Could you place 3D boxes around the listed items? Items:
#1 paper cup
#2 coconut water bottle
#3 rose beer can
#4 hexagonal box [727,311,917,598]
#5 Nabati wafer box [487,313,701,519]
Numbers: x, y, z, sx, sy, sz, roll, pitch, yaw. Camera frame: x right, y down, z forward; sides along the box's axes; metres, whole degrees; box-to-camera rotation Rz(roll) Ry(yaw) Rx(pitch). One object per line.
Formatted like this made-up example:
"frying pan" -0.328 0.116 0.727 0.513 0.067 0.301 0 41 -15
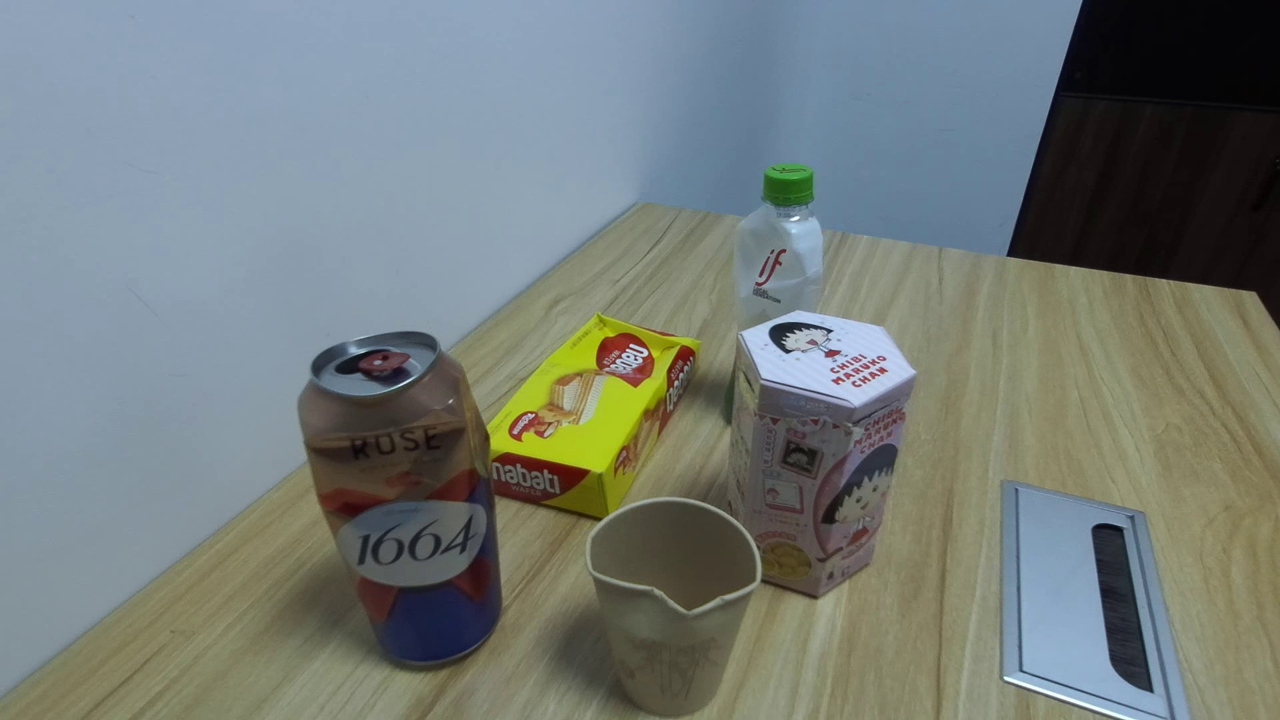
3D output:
"paper cup" 0.014 0.119 0.335 0.074 0.081 0.068 -16 34 -25
"coconut water bottle" 0.093 -0.037 0.481 0.067 0.187 0.067 0 30 0
"rose beer can" -0.109 0.073 0.343 0.076 0.167 0.065 -7 25 2
"hexagonal box" 0.094 0.052 0.388 0.091 0.136 0.083 -22 38 -30
"Nabati wafer box" -0.028 0.027 0.522 0.096 0.042 0.203 10 33 19
